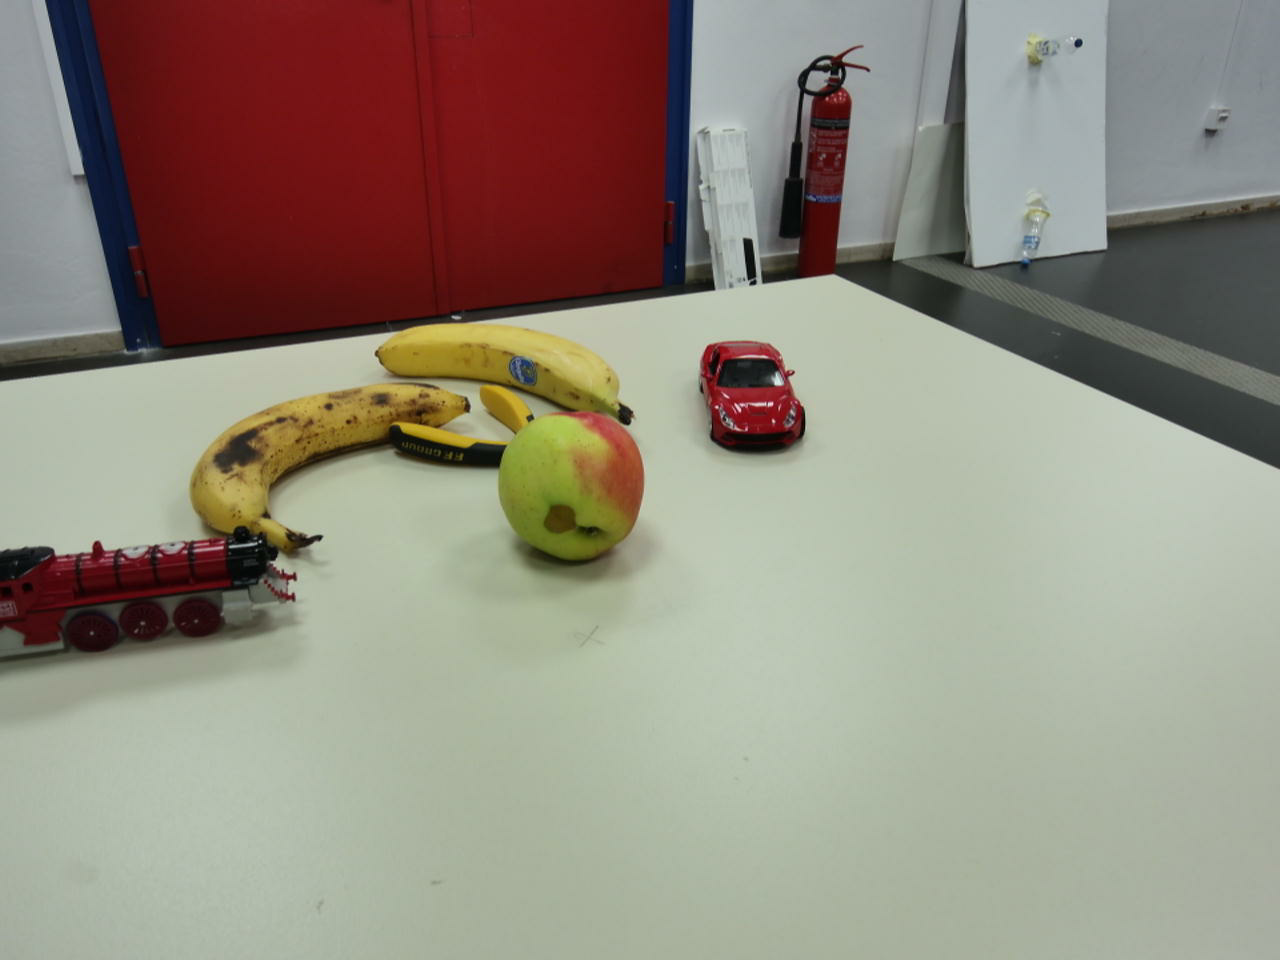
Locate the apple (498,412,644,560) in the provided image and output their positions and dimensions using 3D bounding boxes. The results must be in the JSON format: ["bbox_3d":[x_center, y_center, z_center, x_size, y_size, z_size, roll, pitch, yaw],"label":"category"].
[{"bbox_3d":[-0.033,0.002,0.509,0.075,0.074,0.075,-22,34,-40],"label":"apple"}]
